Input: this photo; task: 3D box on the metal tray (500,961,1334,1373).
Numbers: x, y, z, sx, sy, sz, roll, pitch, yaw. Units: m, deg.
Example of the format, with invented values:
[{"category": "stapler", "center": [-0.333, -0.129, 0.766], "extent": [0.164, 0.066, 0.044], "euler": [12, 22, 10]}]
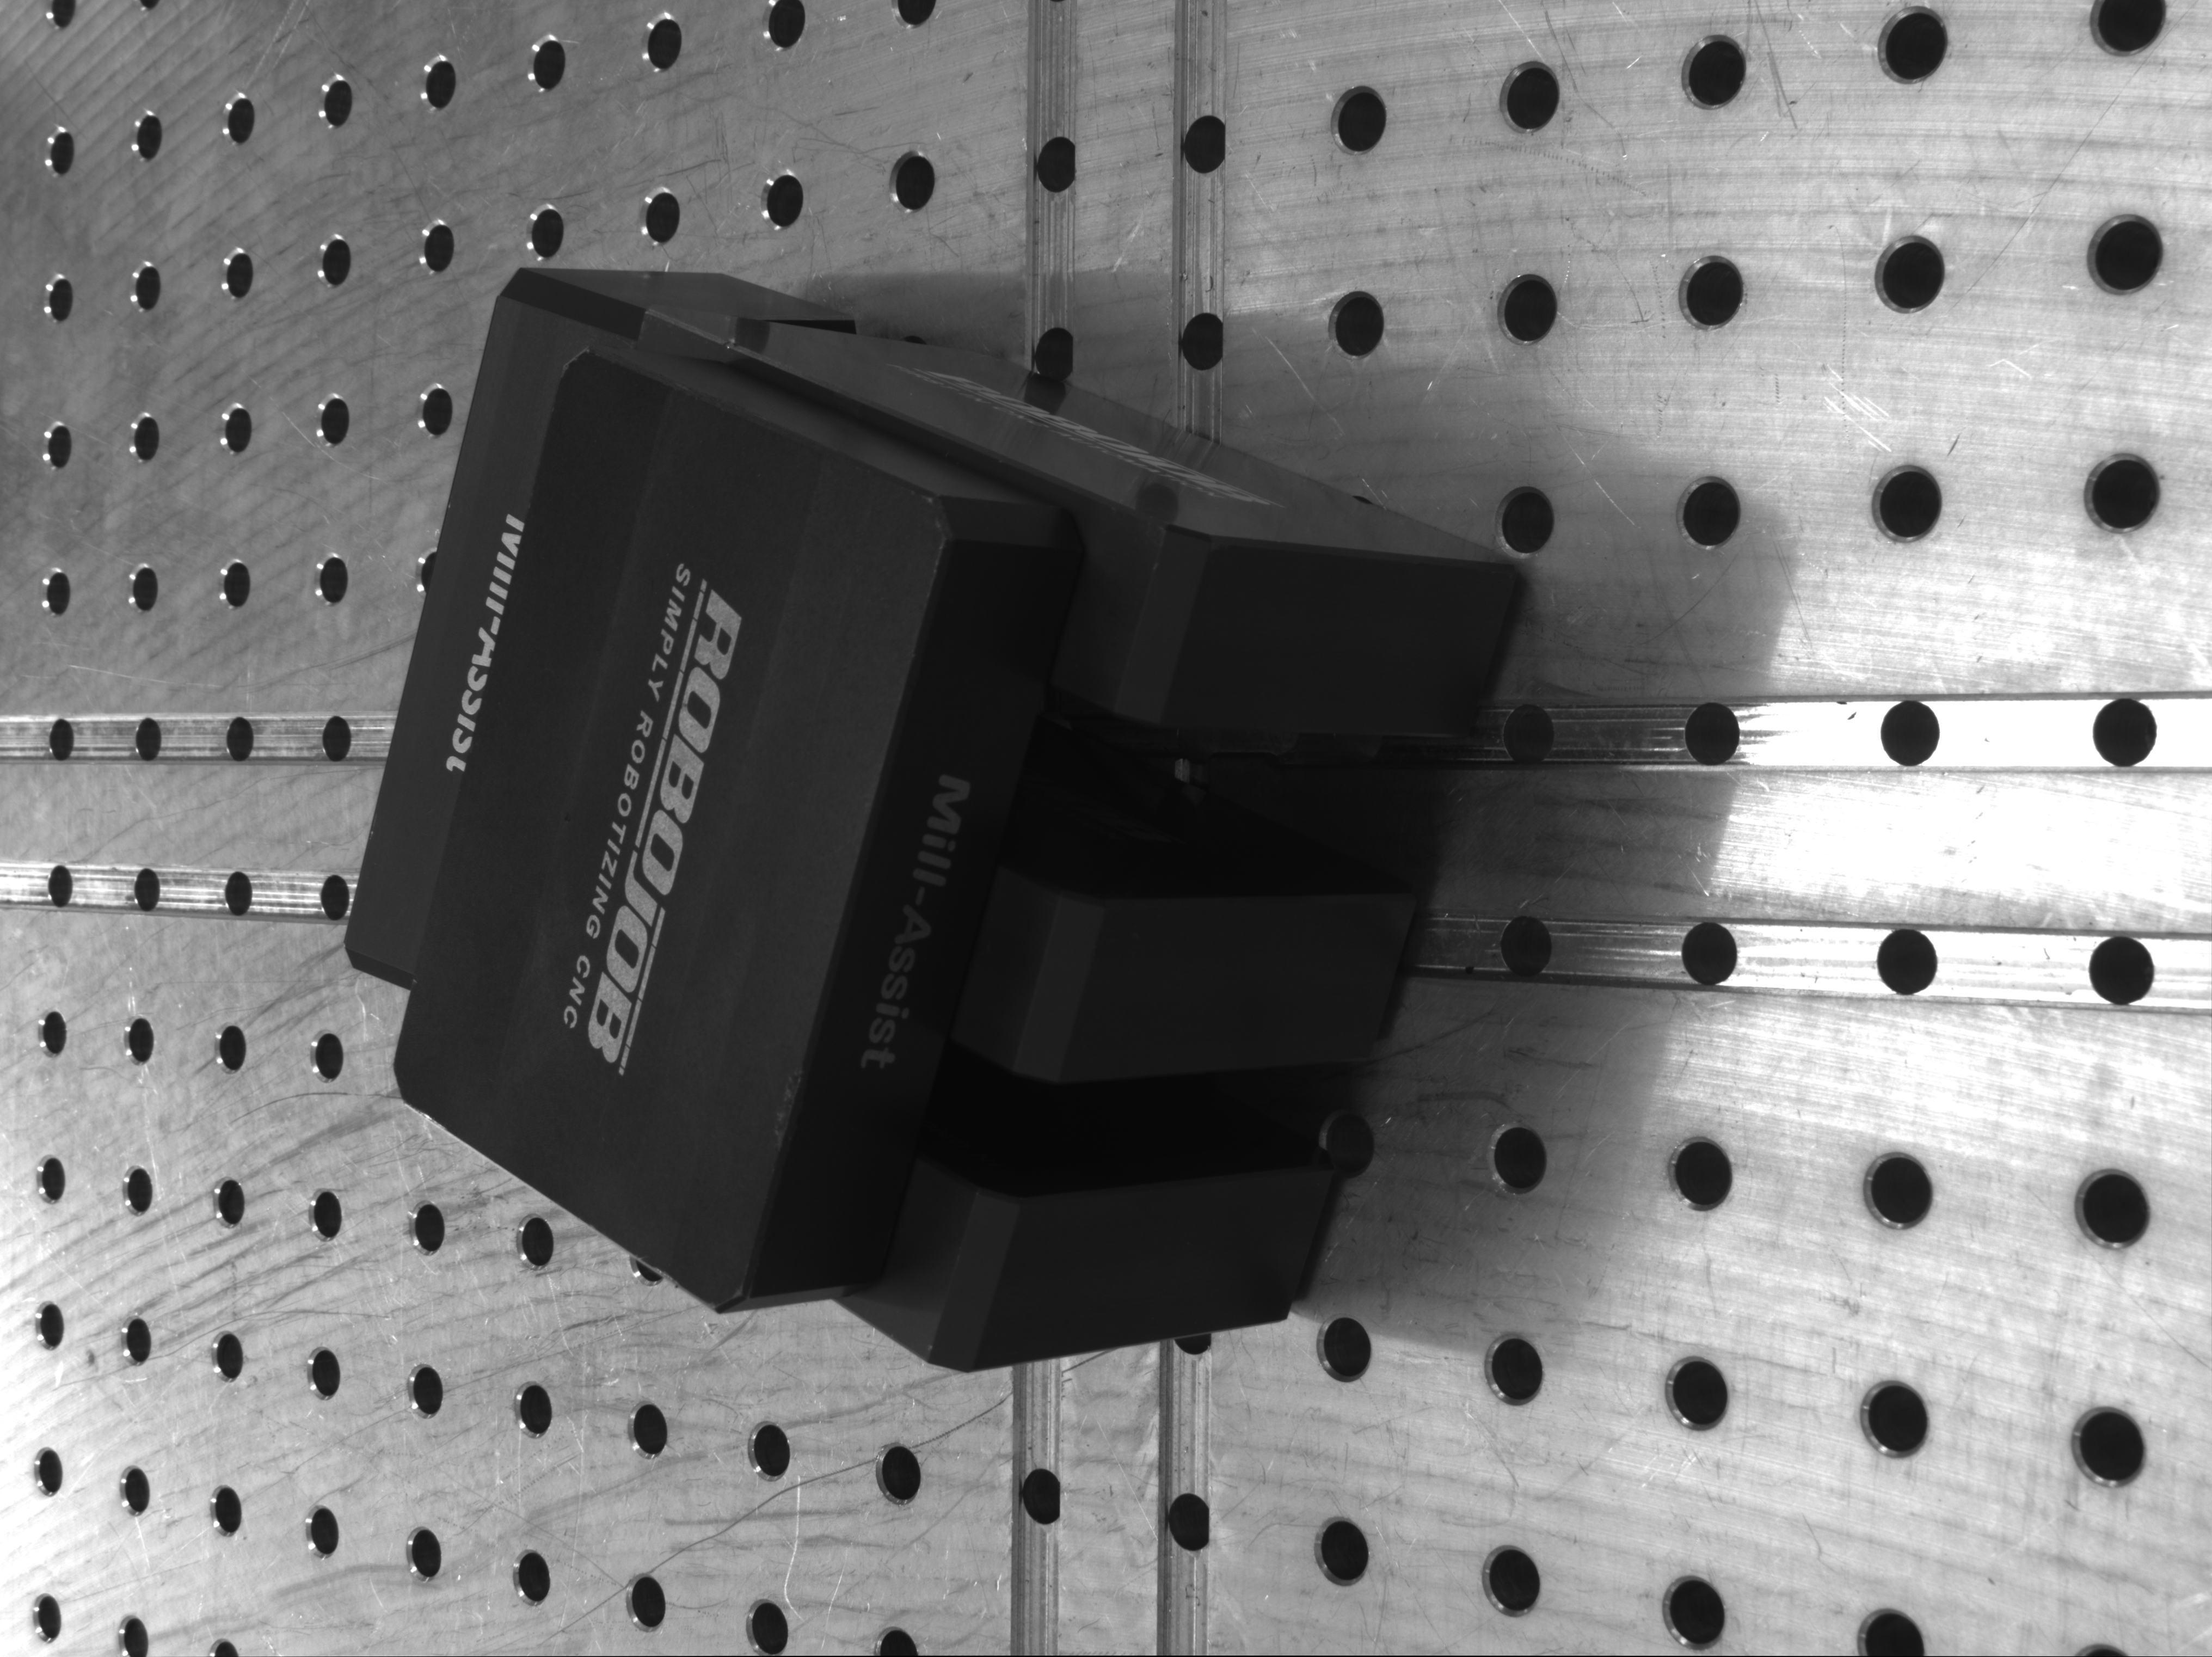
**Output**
[{"category": "metal tray", "center": [-0.037, 0.048, 0.637], "extent": [0.130, 0.090, 0.030], "euler": [27, 107, 37]}]

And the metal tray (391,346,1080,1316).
[{"category": "metal tray", "center": [-0.061, -0.001, 0.578], "extent": [0.090, 0.030, 0.130], "euler": [26, 107, 37]}]

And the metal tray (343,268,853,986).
[{"category": "metal tray", "center": [-0.092, -0.036, 0.680], "extent": [0.030, 0.090, 0.130], "euler": [20, 103, 16]}]

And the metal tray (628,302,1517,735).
[{"category": "metal tray", "center": [-0.009, -0.052, 0.612], "extent": [0.130, 0.090, 0.030], "euler": [27, 107, 38]}]

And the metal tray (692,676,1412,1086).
[{"category": "metal tray", "center": [-0.025, 0.004, 0.626], "extent": [0.130, 0.090, 0.030], "euler": [25, 105, 36]}]
